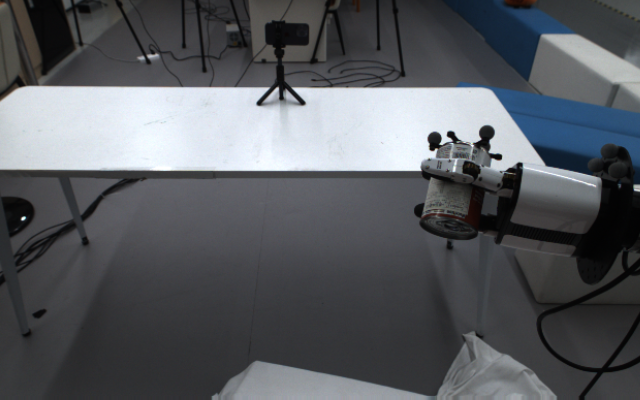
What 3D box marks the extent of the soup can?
[{"bbox_3d":[0.165,-0.013,0.586,0.067,0.067,0.101,12,70,14],"label":"soup can"}]
